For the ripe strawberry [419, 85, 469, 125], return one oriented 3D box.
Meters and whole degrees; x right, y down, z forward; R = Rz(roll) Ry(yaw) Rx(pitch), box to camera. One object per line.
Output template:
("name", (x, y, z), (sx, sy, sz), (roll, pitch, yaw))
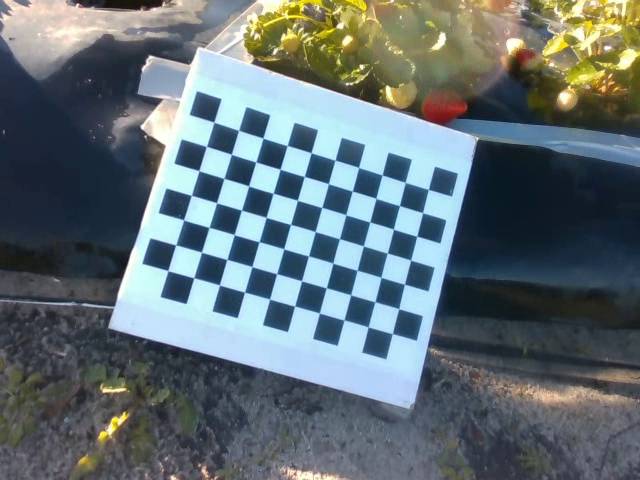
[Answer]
("ripe strawberry", (0.134, -0.141, 0.605), (0.049, 0.045, 0.064), (44, -8, -30))
